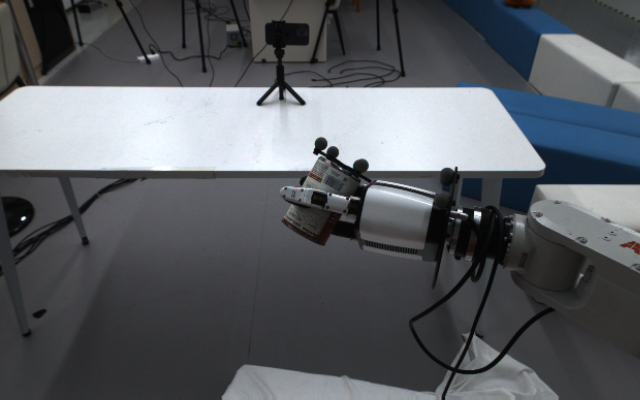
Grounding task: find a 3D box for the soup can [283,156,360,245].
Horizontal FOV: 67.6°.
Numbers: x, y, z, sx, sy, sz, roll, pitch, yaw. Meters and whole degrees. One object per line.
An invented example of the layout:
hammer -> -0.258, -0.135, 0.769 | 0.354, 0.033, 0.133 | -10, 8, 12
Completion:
soup can -> 0.003, 0.001, 0.651 | 0.067, 0.101, 0.067 | 30, 2, -1
